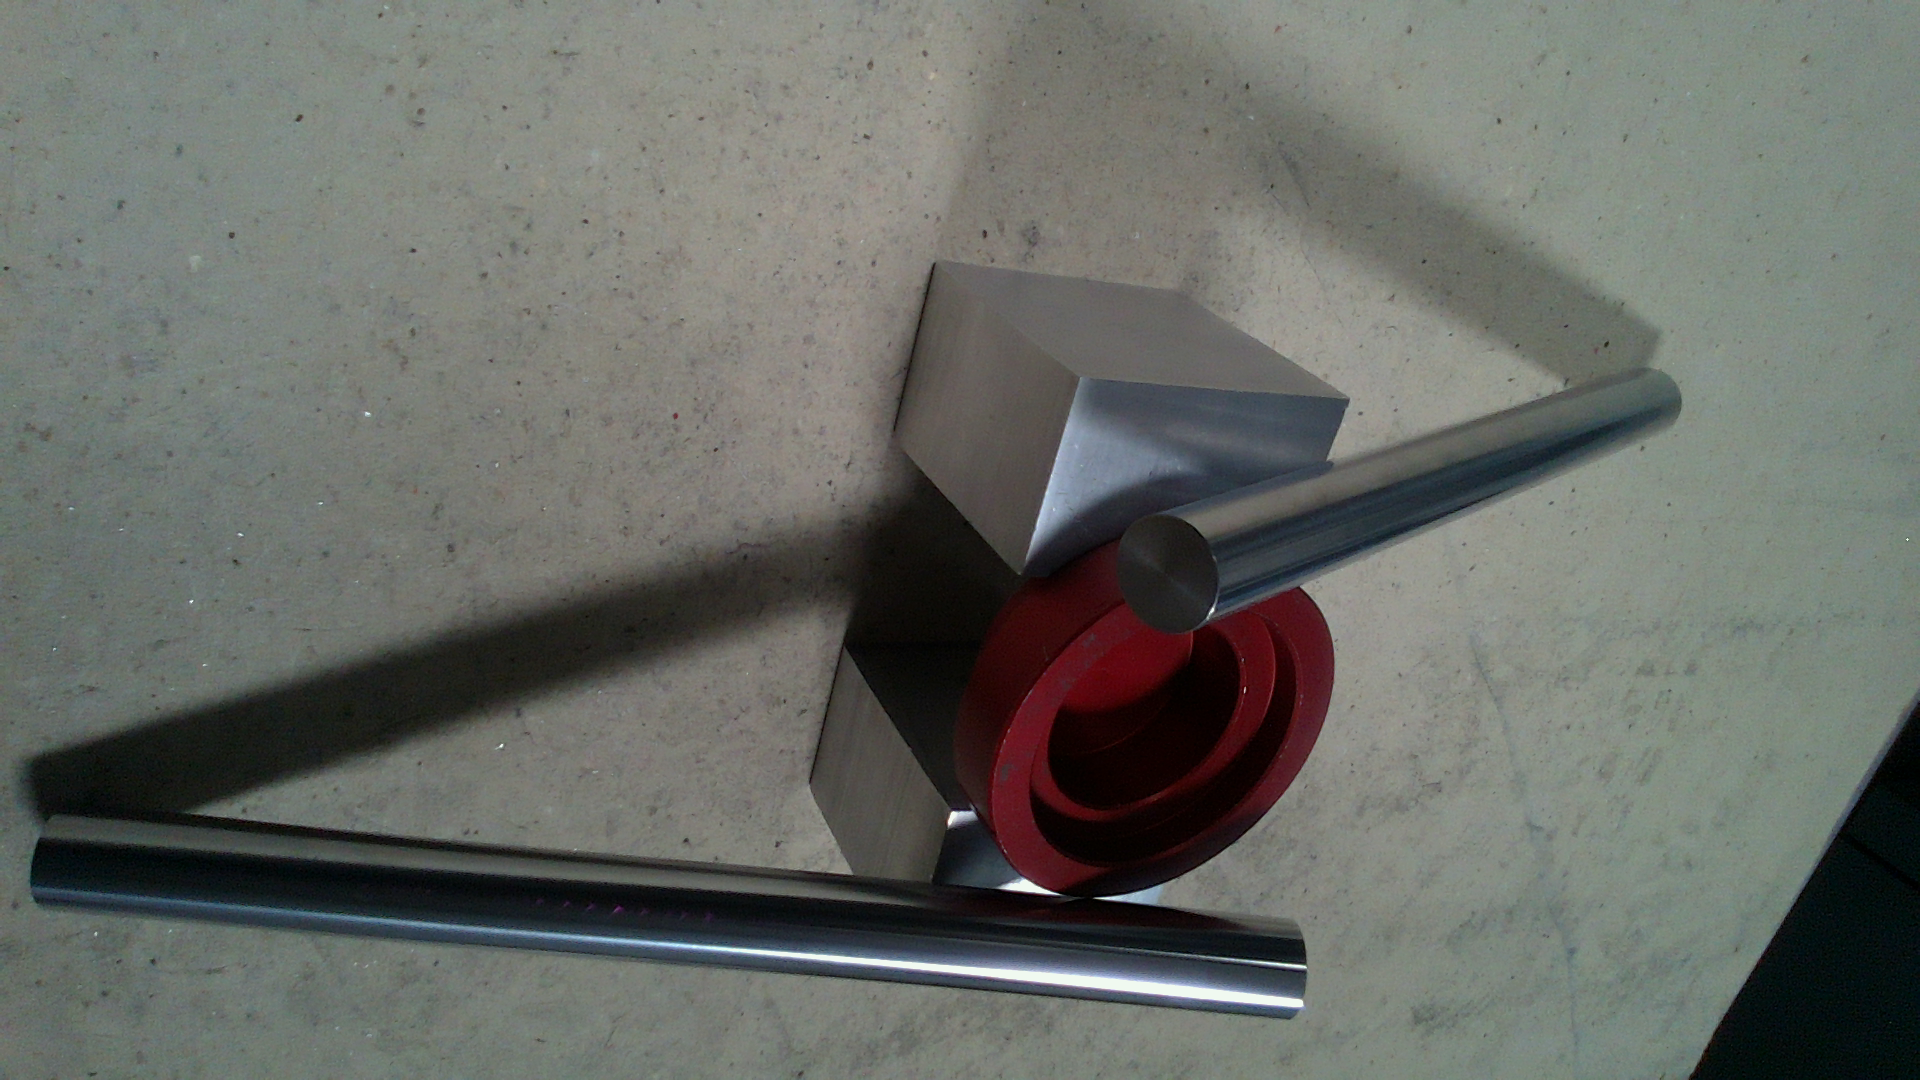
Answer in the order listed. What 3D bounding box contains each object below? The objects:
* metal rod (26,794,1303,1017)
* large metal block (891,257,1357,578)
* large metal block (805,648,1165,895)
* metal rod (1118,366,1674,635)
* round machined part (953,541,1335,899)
[{"bbox_3d":[-0.064,0.091,0.339,0.300,0.025,0.025,7,117,-6],"label":"metal rod"},{"bbox_3d":[0.039,-0.032,0.355,0.080,0.080,0.050,1,118,-29],"label":"large metal block"},{"bbox_3d":[0.009,0.074,0.405,0.080,0.080,0.050,1,118,-29],"label":"large metal block"},{"bbox_3d":[0.142,-0.022,0.384,0.301,0.025,0.025,-16,128,-46],"label":"metal rod"},{"bbox_3d":[0.042,0.040,0.350,0.098,0.042,0.098,-14,124,-21],"label":"round machined part"}]
